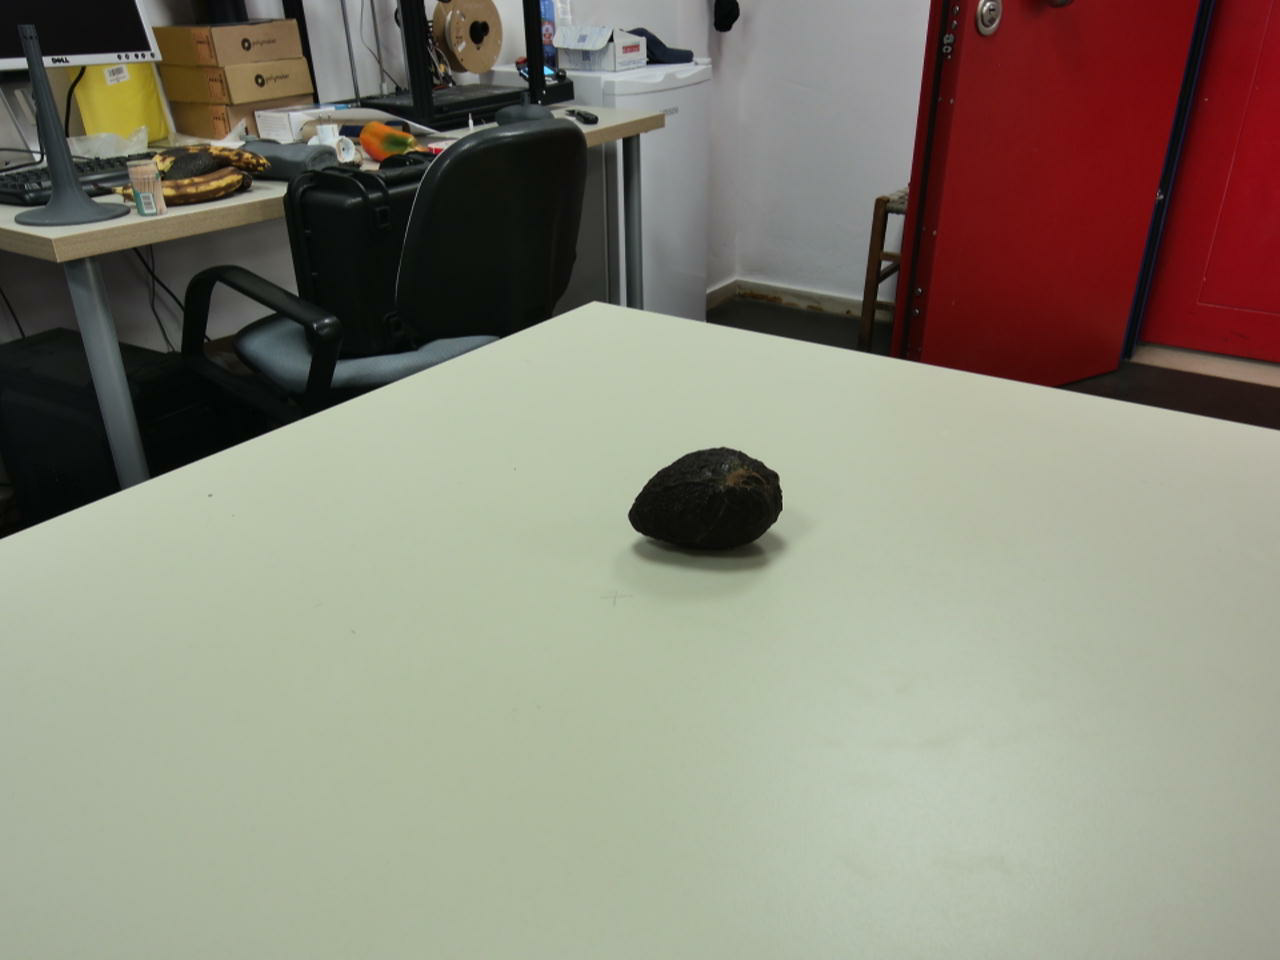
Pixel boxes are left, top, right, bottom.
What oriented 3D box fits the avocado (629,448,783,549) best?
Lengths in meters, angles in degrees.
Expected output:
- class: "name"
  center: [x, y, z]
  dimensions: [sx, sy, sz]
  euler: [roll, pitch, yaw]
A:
- class: "avocado"
  center: [0.041, 0.011, 0.612]
  dimensions: [0.092, 0.062, 0.062]
  euler: [6, 26, 11]
